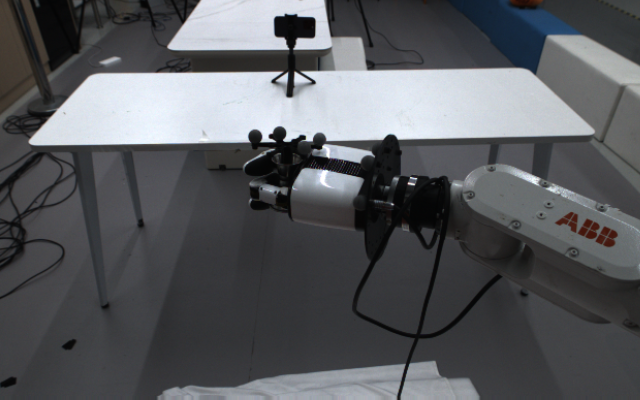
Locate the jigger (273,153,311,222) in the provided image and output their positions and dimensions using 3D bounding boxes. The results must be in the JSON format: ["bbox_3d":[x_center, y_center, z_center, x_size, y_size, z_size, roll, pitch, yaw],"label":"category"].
[{"bbox_3d":[-0.040,-0.023,0.640,0.043,0.071,0.043,3,25,-1],"label":"jigger"}]
